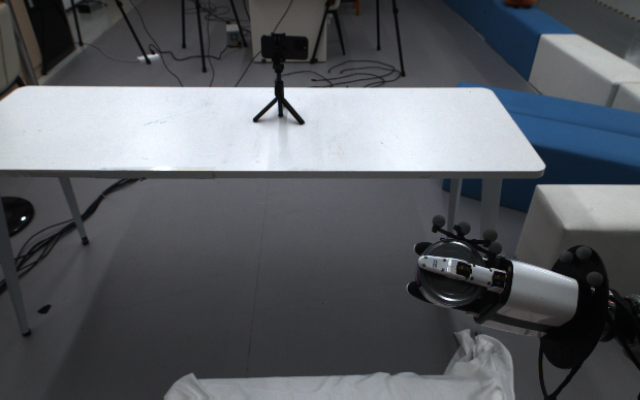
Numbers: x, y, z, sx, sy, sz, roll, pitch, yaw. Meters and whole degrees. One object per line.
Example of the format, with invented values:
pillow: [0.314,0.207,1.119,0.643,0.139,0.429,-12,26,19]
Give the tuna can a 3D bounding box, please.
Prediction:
tuna can: [0.169,0.092,0.623,0.085,0.034,0.085,0,72,0]
